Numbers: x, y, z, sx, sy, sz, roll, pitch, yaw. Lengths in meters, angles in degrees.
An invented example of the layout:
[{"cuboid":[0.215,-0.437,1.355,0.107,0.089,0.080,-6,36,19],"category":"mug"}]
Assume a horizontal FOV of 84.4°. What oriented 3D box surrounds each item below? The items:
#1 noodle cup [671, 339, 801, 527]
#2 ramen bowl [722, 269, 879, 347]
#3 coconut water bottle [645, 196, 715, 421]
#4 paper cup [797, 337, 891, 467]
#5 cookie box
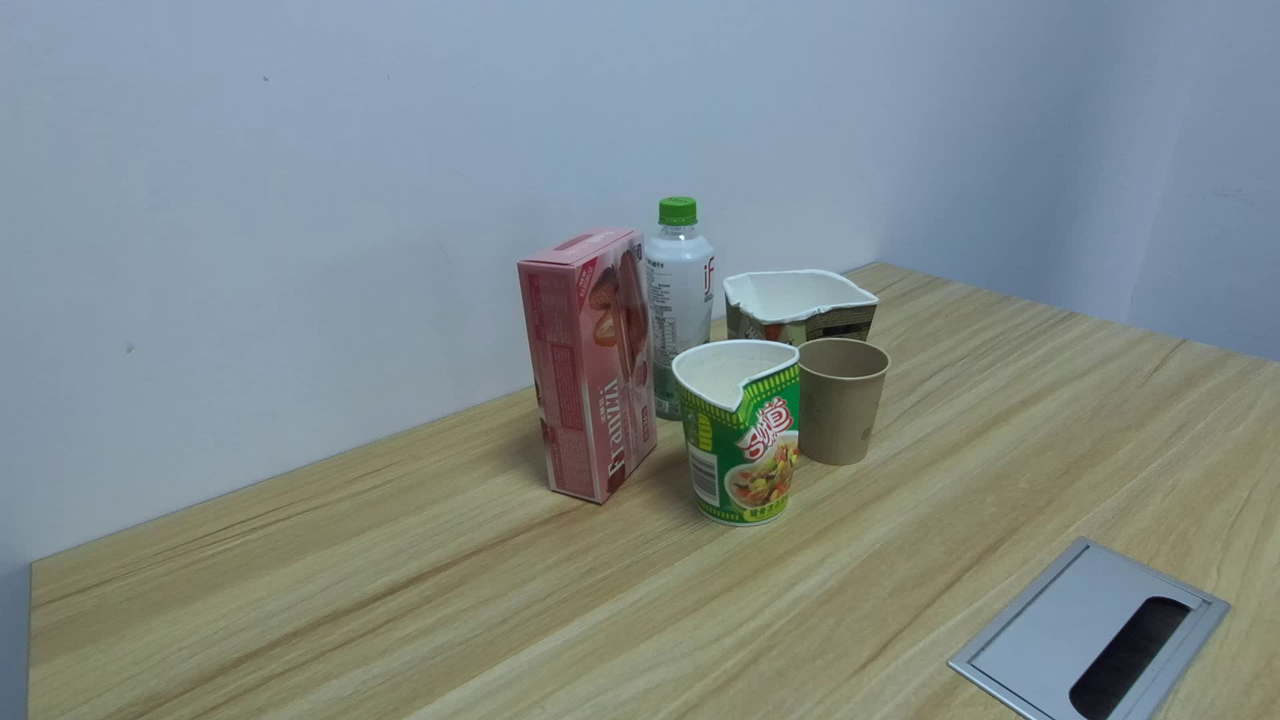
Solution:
[{"cuboid":[0.071,0.051,0.498,0.094,0.109,0.086,-17,29,-26],"category":"noodle cup"},{"cuboid":[0.136,-0.025,0.668,0.114,0.097,0.133,-16,30,-23],"category":"ramen bowl"},{"cuboid":[0.037,-0.043,0.610,0.063,0.189,0.063,-3,25,1],"category":"coconut water bottle"},{"cuboid":[0.154,0.035,0.557,0.075,0.082,0.075,-2,24,1],"category":"paper cup"},{"cuboid":[-0.032,0.004,0.528,0.048,0.185,0.096,8,27,27],"category":"cookie box"}]
